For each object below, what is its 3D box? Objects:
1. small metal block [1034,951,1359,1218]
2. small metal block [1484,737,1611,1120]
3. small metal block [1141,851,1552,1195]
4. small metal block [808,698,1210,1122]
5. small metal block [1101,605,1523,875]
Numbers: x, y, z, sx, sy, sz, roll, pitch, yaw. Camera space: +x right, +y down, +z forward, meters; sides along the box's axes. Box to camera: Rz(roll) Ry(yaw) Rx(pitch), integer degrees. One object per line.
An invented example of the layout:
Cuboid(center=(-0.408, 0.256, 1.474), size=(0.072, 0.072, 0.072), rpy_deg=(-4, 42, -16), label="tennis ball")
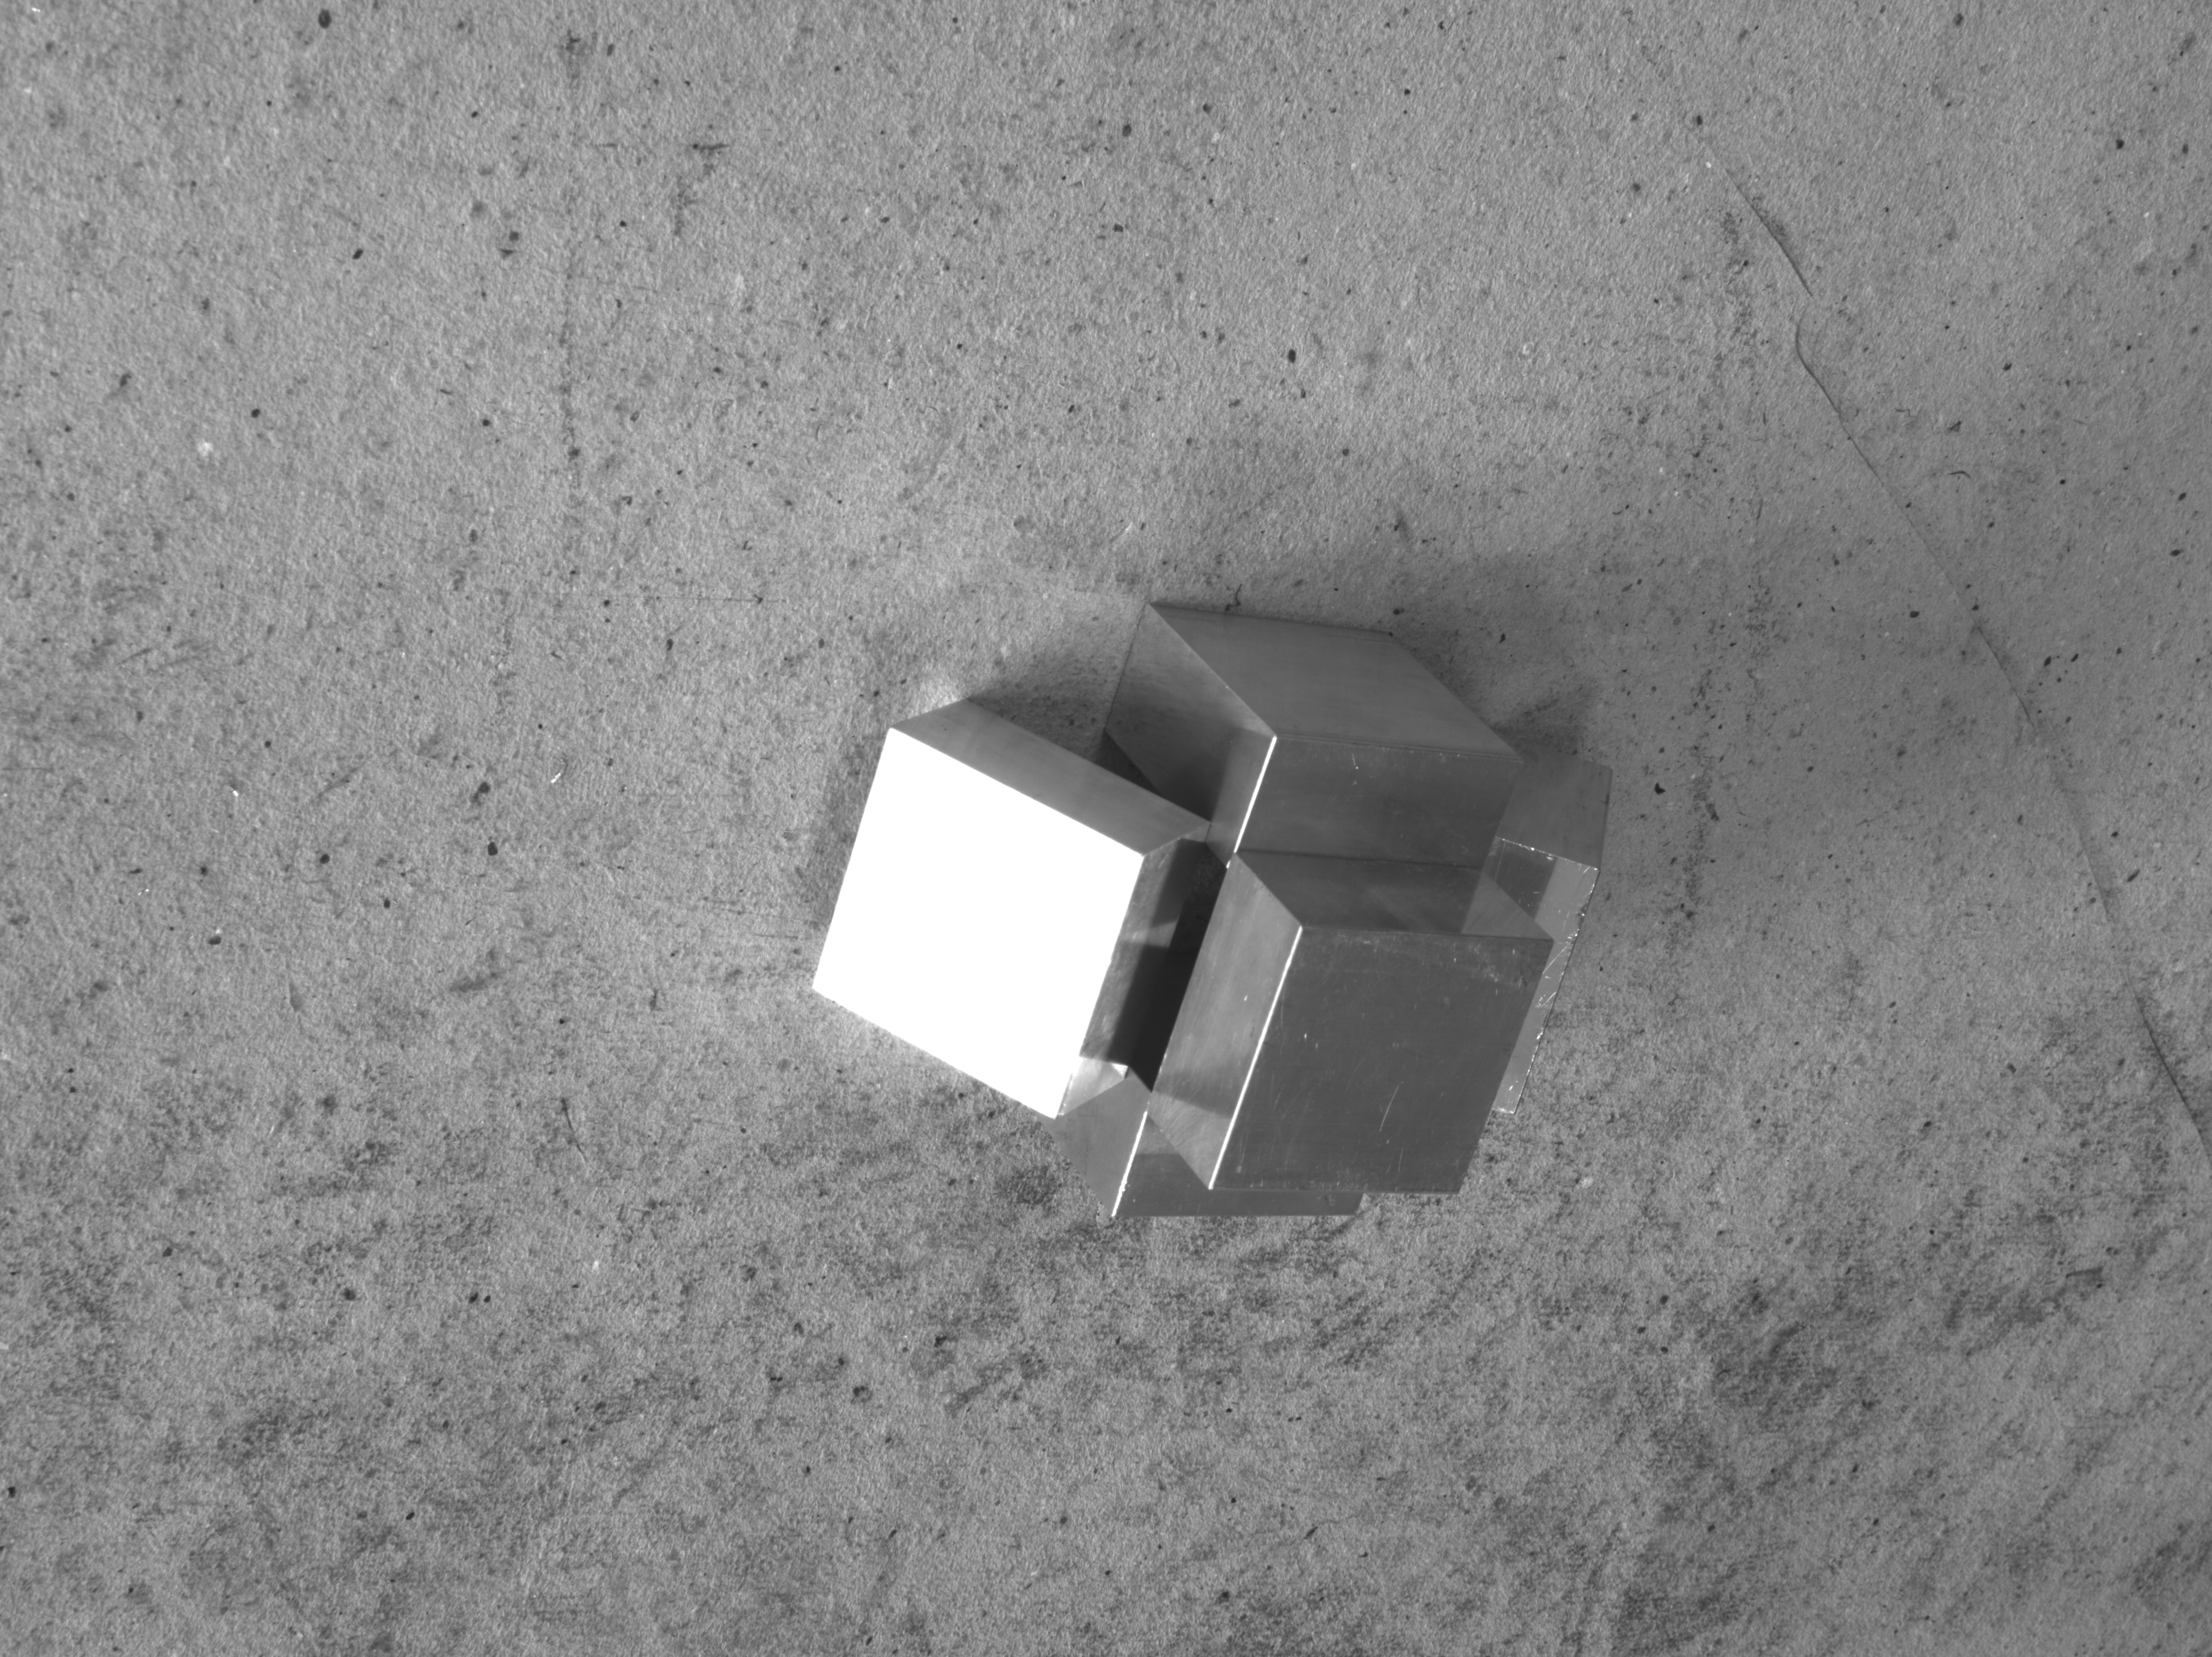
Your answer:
Cuboid(center=(0.015, 0.045, 0.658), size=(0.050, 0.050, 0.025), rpy_deg=(3, 117, -30), label="small metal block")
Cuboid(center=(0.071, 0.017, 0.667), size=(0.025, 0.050, 0.050), rpy_deg=(18, 114, 3), label="small metal block")
Cuboid(center=(0.040, 0.033, 0.616), size=(0.050, 0.025, 0.050), rpy_deg=(4, 116, -30), label="small metal block")
Cuboid(center=(-0.017, 0.013, 0.618), size=(0.025, 0.050, 0.050), rpy_deg=(-25, 138, -59), label="small metal block")
Cuboid(center=(0.035, -0.014, 0.632), size=(0.050, 0.050, 0.025), rpy_deg=(5, 116, -30), label="small metal block")
